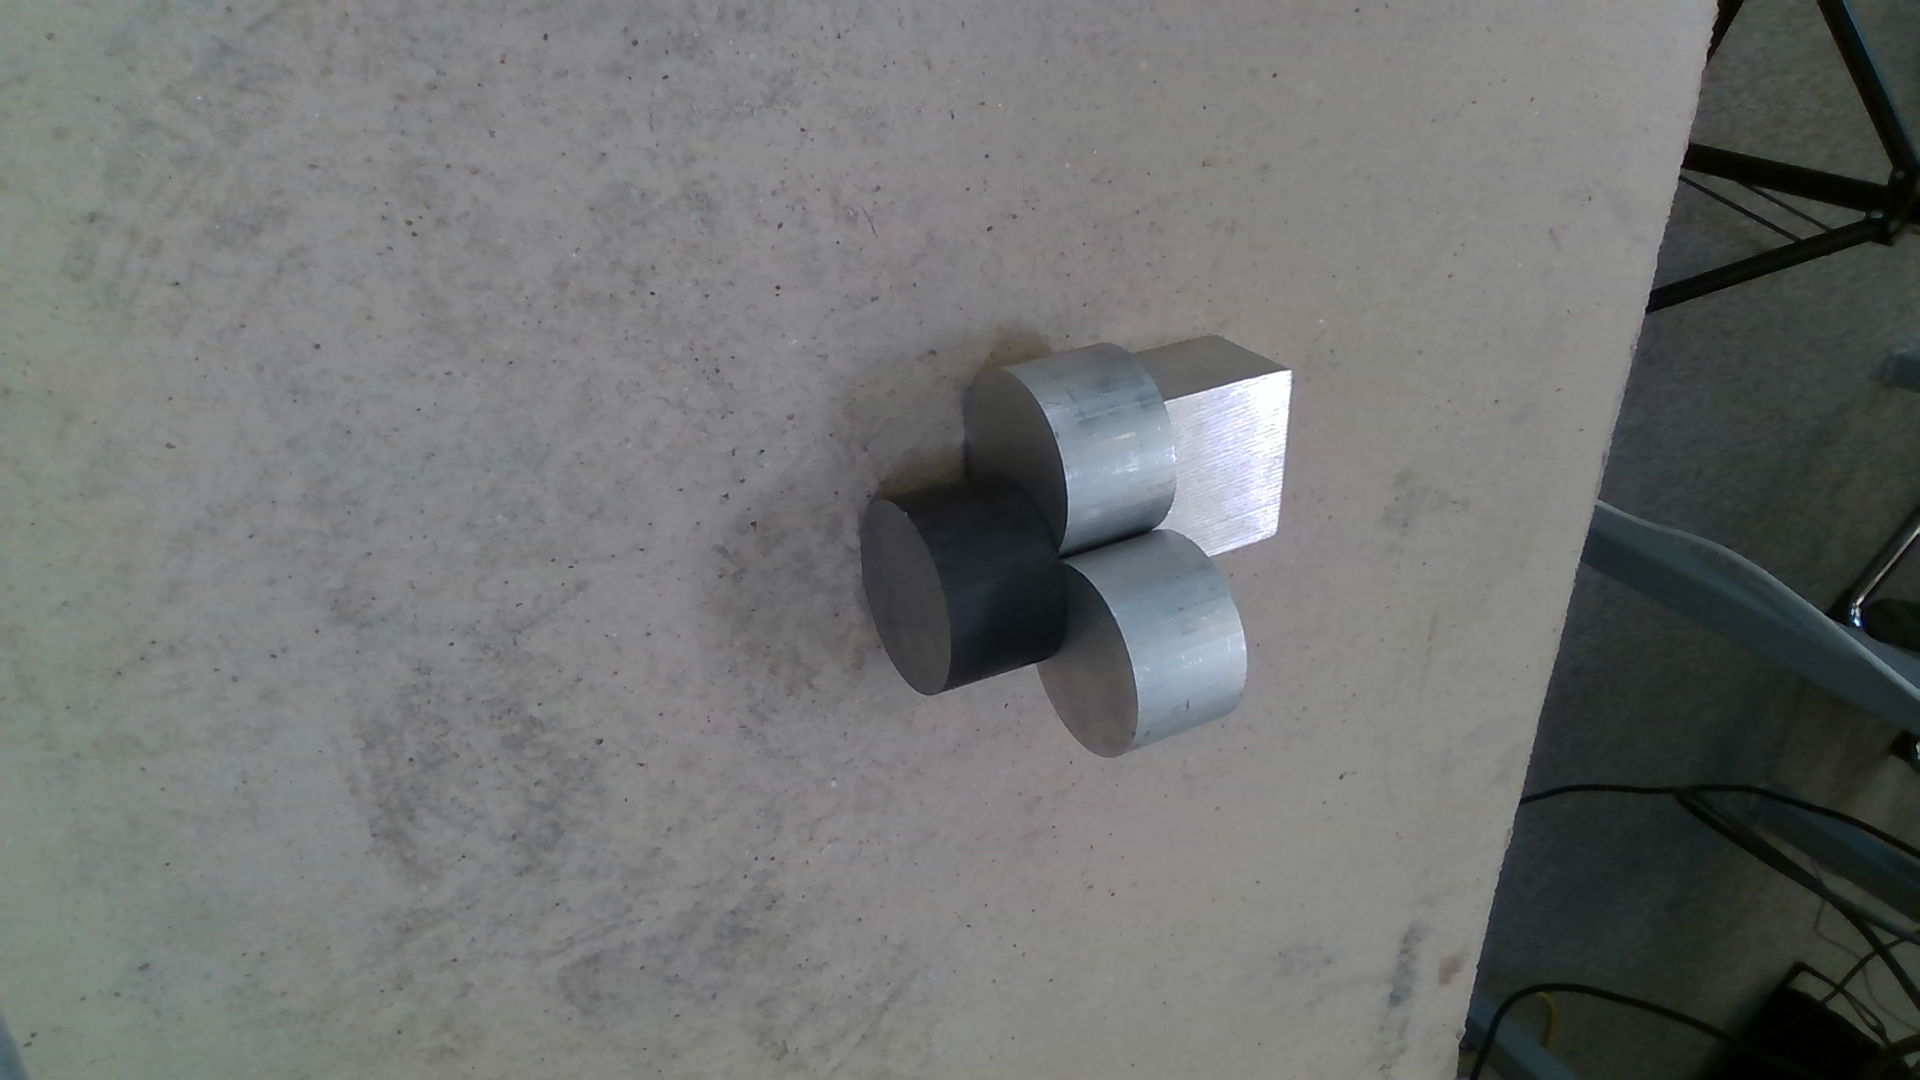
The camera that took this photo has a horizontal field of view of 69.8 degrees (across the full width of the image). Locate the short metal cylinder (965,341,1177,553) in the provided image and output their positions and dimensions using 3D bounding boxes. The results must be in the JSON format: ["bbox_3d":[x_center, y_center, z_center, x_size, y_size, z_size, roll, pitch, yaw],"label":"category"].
[{"bbox_3d":[0.043,-0.036,0.554,0.050,0.080,0.080,-17,122,-24],"label":"short metal cylinder"}]

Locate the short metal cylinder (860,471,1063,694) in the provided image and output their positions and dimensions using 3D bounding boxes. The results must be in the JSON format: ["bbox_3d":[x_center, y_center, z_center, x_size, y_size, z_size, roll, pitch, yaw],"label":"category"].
[{"bbox_3d":[-0.001,0.016,0.555,0.050,0.080,0.080,-15,122,-25],"label":"short metal cylinder"}]

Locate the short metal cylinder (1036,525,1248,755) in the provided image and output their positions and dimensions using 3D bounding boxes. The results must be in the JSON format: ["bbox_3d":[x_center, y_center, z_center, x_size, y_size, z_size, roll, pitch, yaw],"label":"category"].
[{"bbox_3d":[0.068,0.039,0.545,0.050,0.080,0.080,-17,122,-24],"label":"short metal cylinder"}]

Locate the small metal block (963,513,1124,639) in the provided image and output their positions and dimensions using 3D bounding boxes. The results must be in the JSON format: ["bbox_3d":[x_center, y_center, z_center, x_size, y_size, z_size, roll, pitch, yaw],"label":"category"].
[{"bbox_3d":[0.036,0.015,0.598,0.050,0.050,0.025,-14,121,-25],"label":"small metal block"}]

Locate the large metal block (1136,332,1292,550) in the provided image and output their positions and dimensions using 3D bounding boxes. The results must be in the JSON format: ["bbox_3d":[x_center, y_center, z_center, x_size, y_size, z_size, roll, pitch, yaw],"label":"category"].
[{"bbox_3d":[0.094,-0.039,0.603,0.080,0.050,0.080,-16,122,-24],"label":"large metal block"}]
